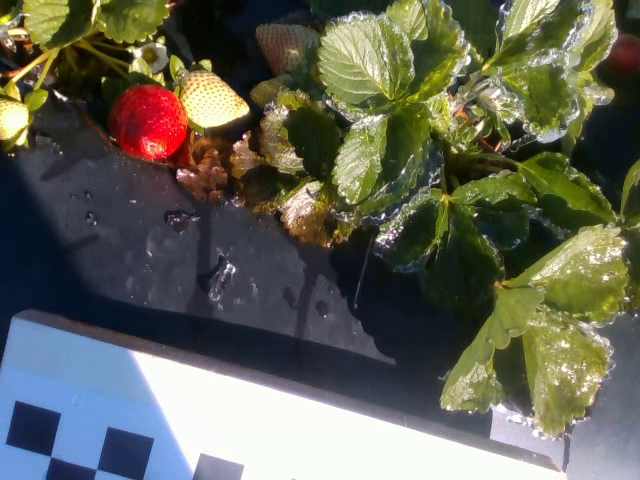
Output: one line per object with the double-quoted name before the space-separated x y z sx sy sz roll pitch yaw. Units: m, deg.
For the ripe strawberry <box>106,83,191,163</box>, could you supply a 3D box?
"ripe strawberry" -0.080 -0.051 0.298 0.040 0.042 0.053 -20 34 -2
